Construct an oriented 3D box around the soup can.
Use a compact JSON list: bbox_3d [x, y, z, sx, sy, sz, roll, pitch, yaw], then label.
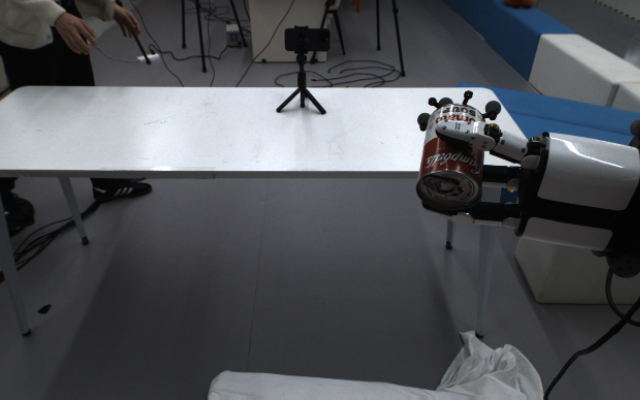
[{"bbox_3d":[0.148,-0.050,0.538,0.067,0.067,0.101,9,56,10],"label":"soup can"}]
